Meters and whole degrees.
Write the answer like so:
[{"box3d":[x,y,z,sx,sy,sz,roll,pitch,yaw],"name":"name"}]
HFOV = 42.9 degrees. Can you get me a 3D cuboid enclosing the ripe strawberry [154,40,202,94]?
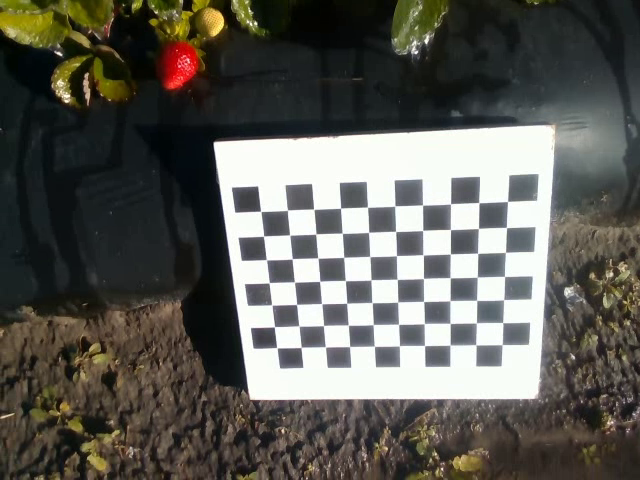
[{"box3d":[-0.095,-0.110,0.539,0.039,0.039,0.040,-6,-40,21],"name":"ripe strawberry"}]
